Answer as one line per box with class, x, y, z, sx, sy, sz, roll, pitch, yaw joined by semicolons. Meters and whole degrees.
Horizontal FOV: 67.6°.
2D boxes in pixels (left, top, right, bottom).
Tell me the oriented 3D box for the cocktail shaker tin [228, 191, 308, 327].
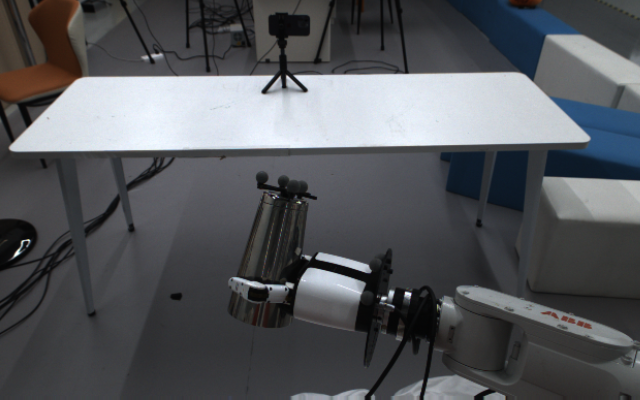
cocktail shaker tin;-0.065;0.079;0.671;0.093;0.170;0.093;13;4;-1
